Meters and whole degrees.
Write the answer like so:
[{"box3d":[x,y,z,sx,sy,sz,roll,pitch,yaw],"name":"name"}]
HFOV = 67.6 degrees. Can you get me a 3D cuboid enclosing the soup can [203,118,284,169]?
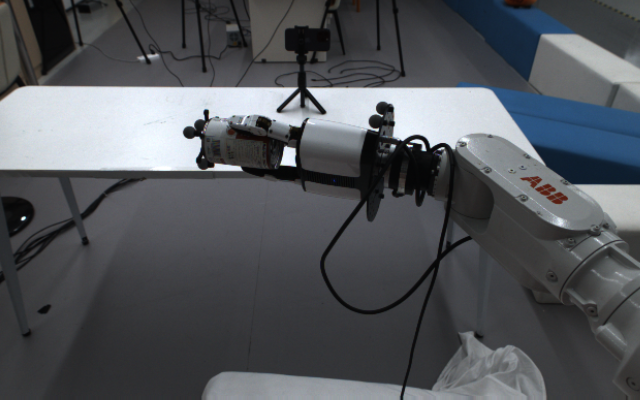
[{"box3d":[-0.108,-0.080,0.696,0.101,0.067,0.067,7,35,10],"name":"soup can"}]
